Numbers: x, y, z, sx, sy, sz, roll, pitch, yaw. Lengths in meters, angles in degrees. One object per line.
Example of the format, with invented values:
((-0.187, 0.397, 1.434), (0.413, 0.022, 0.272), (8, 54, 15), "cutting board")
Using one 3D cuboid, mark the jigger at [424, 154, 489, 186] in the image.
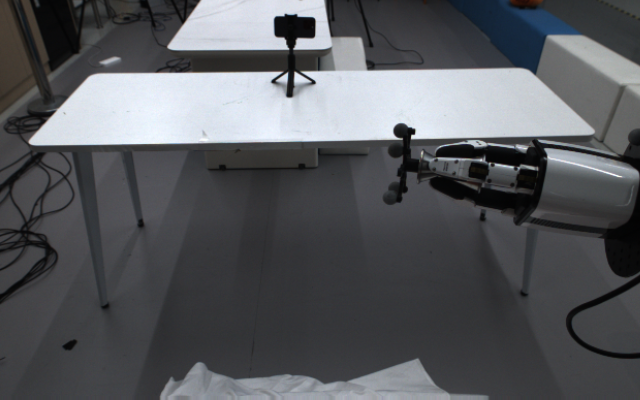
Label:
((0.152, -0.036, 0.538), (0.071, 0.043, 0.043), (8, 35, 15), "jigger")
